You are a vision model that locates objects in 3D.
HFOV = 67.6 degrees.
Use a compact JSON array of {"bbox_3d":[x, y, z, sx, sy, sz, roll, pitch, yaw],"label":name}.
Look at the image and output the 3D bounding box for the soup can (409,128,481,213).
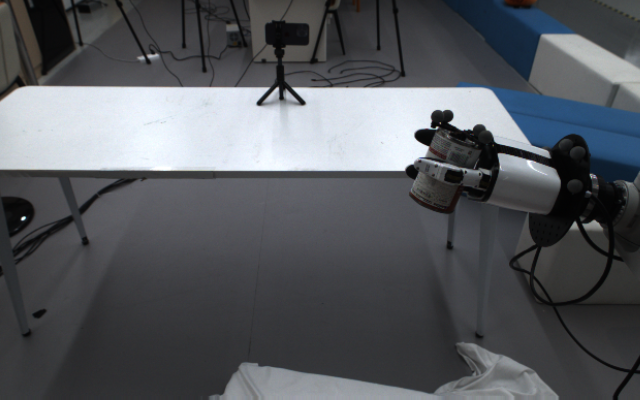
[{"bbox_3d":[0.175,-0.042,0.673,0.067,0.101,0.067,17,22,-7],"label":"soup can"}]
